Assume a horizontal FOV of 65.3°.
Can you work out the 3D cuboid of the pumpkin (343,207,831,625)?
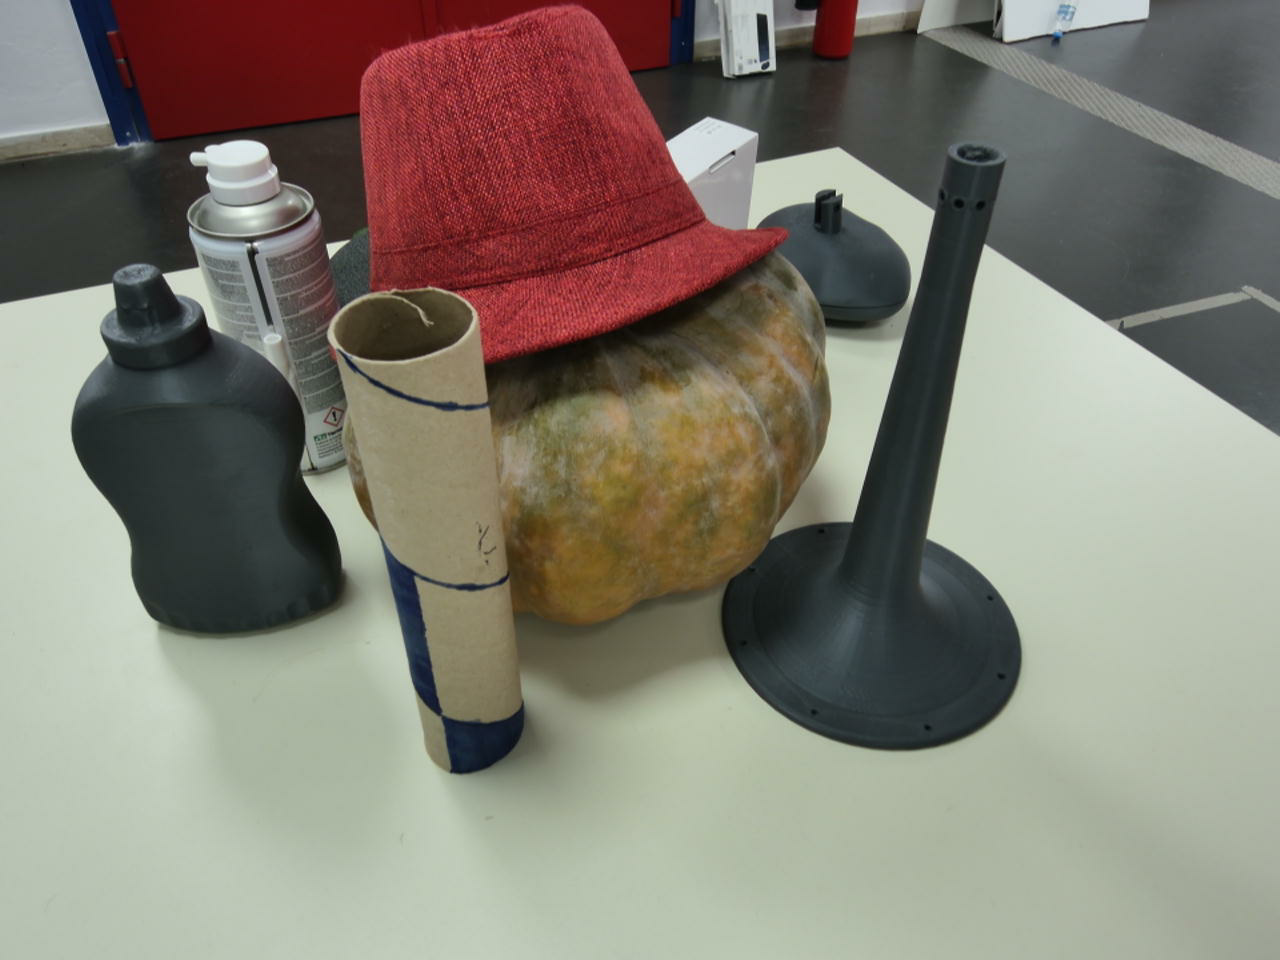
[{"bbox_3d":[-0.030,-0.038,0.519,0.252,0.169,0.251,0,39,0],"label":"pumpkin"}]
